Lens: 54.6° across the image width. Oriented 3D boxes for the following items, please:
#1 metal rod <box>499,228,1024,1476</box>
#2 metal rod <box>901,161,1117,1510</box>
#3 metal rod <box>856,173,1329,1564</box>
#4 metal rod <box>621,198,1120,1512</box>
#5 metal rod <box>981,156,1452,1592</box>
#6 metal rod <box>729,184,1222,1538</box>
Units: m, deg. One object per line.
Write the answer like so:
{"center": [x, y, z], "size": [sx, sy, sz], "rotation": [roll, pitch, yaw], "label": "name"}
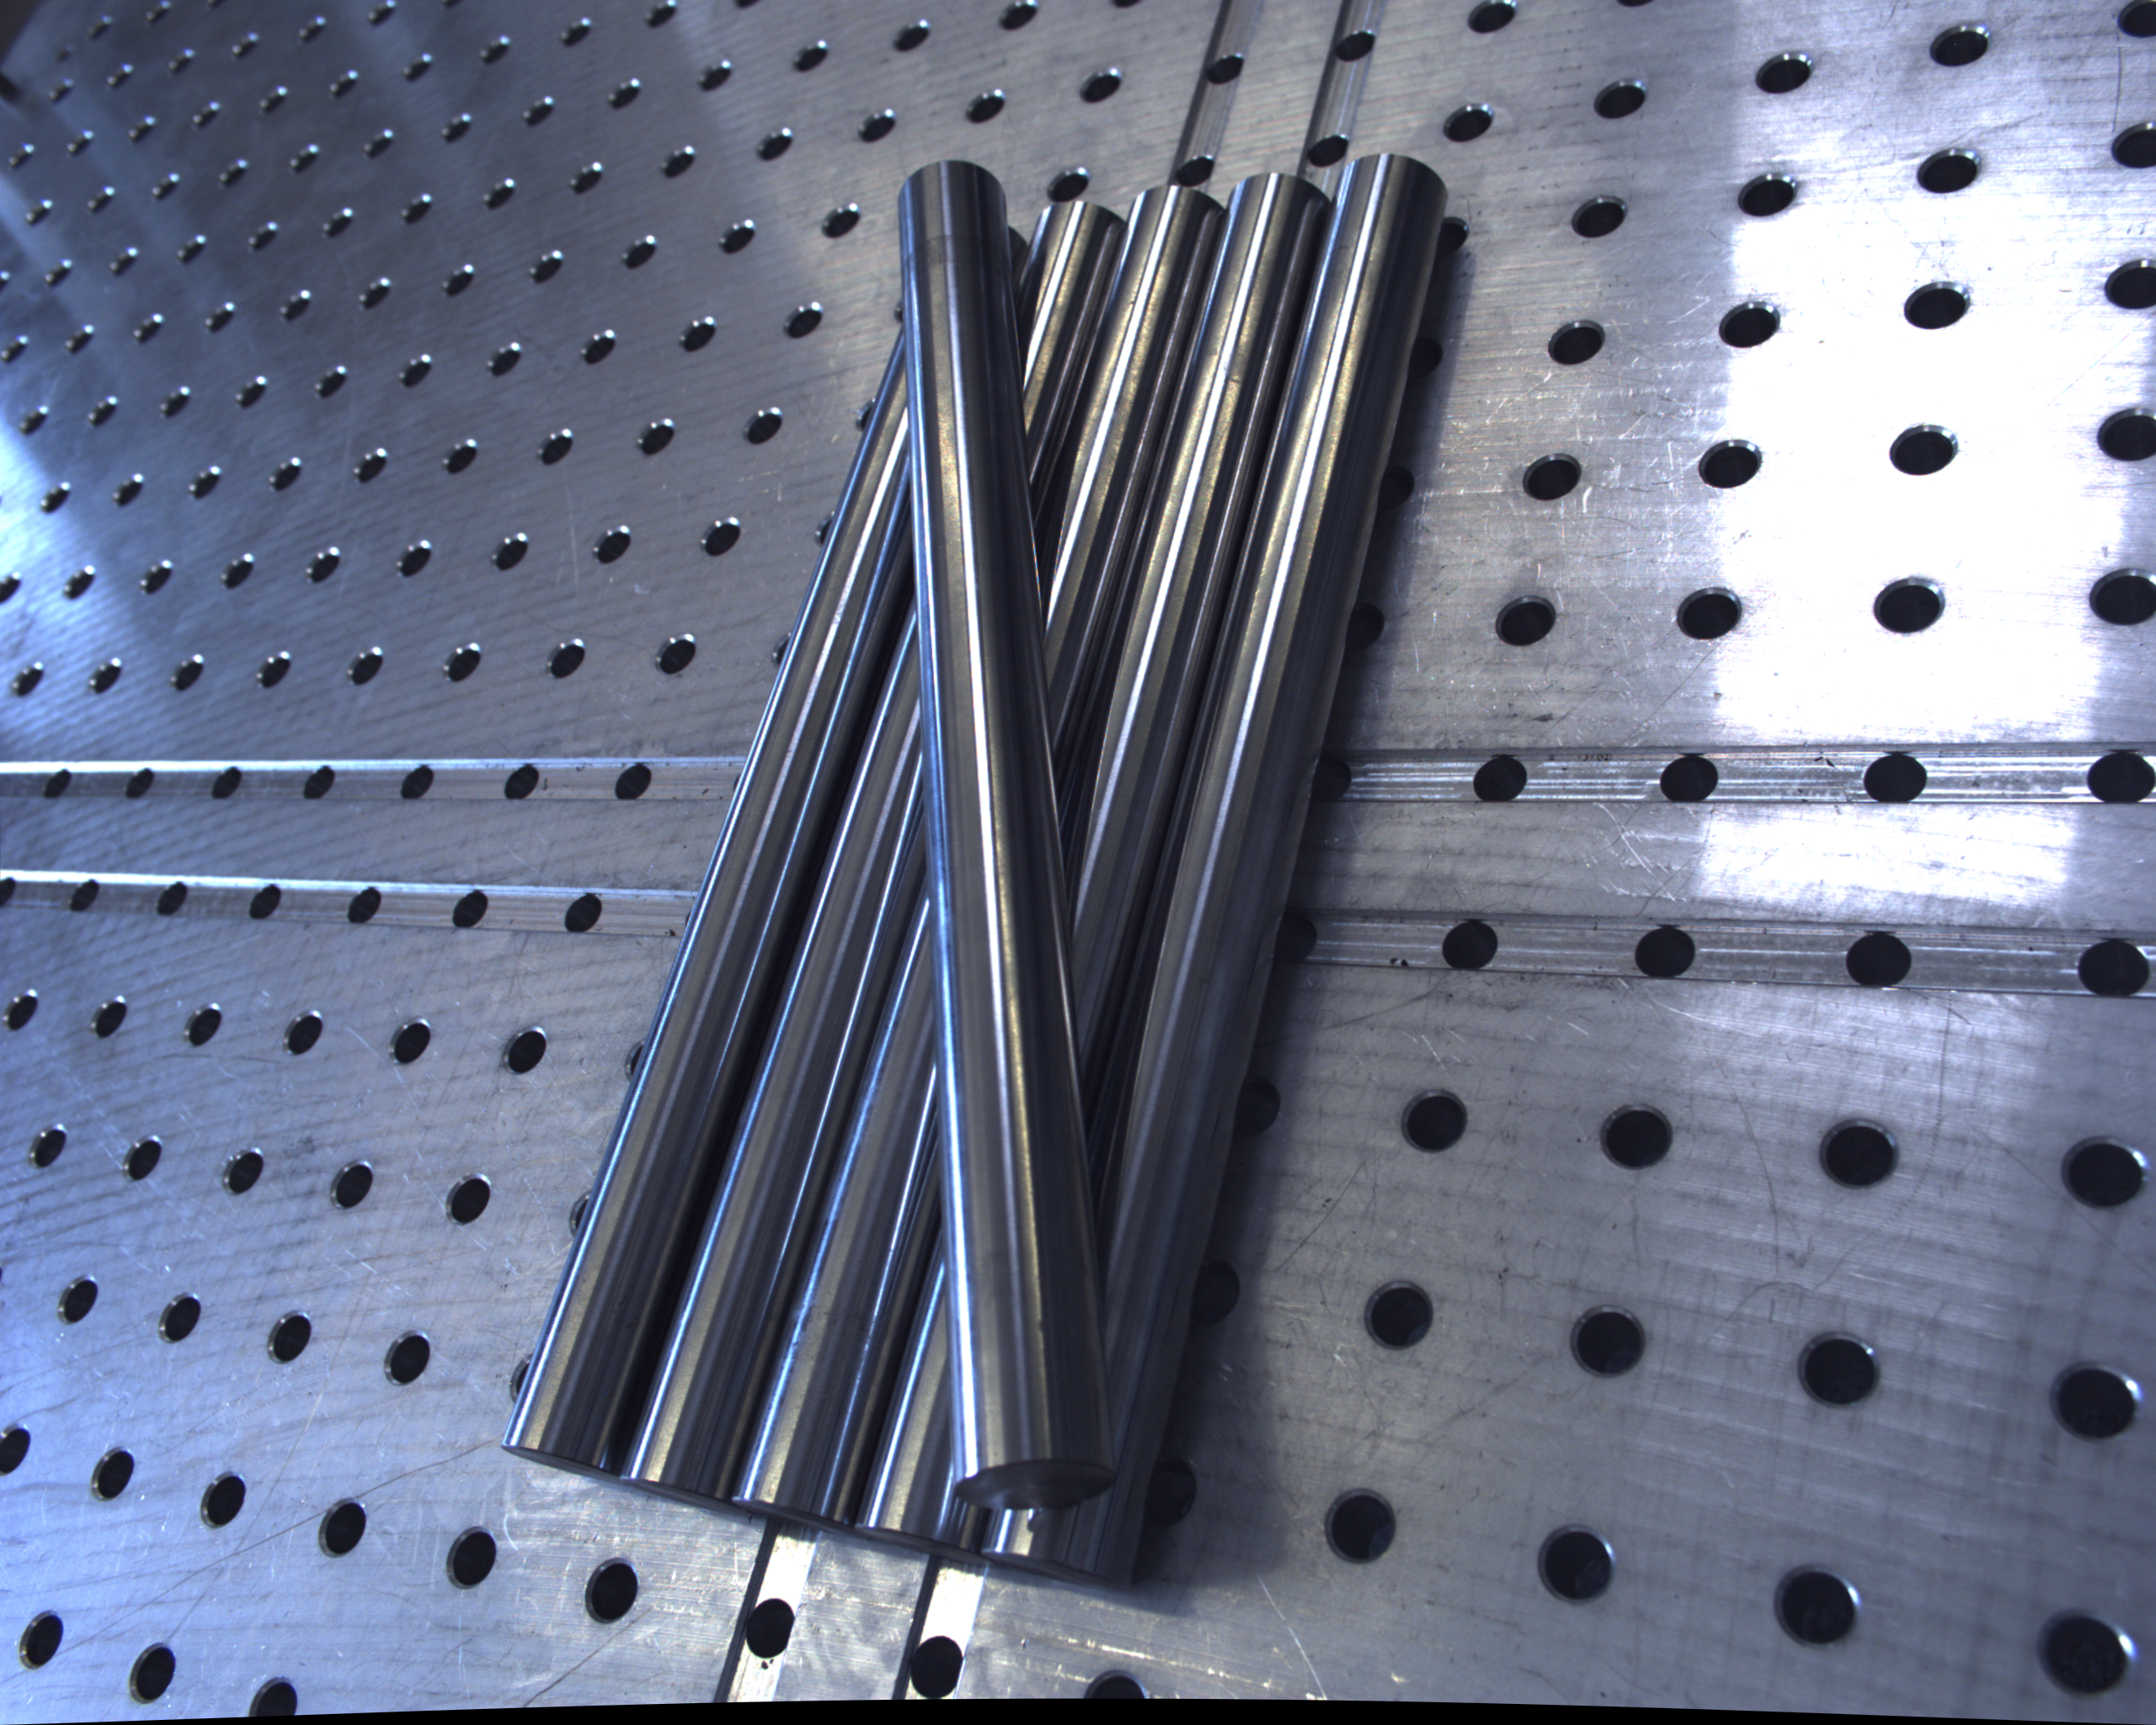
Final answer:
{"center": [-0.060, -0.020, 0.451], "size": [0.025, 0.025, 0.300], "rotation": [1, 62, 29], "label": "metal rod"}
{"center": [-0.018, -0.029, 0.404], "size": [0.025, 0.025, 0.300], "rotation": [-18, 55, 18], "label": "metal rod"}
{"center": [0.010, -0.016, 0.415], "size": [0.025, 0.025, 0.300], "rotation": [1, 62, 29], "label": "metal rod"}
{"center": [-0.034, -0.018, 0.437], "size": [0.025, 0.025, 0.300], "rotation": [1, 62, 29], "label": "metal rod"}
{"center": [0.033, -0.016, 0.402], "size": [0.025, 0.025, 0.300], "rotation": [1, 62, 29], "label": "metal rod"}
{"center": [-0.013, -0.017, 0.425], "size": [0.025, 0.025, 0.300], "rotation": [1, 62, 29], "label": "metal rod"}
